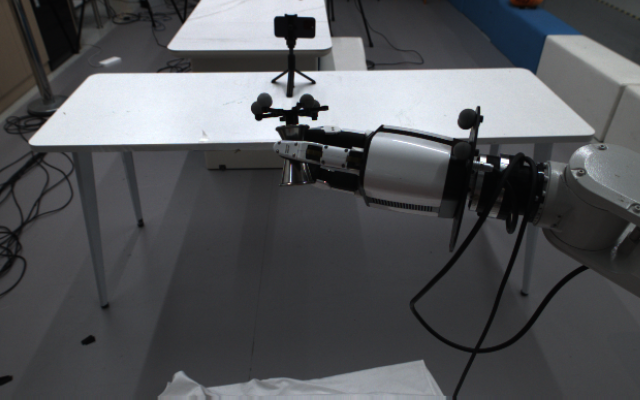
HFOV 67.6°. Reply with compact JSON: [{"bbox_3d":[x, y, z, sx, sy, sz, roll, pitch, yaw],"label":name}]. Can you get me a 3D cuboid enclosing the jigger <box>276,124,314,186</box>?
[{"bbox_3d":[-0.030,-0.051,0.566,0.043,0.071,0.043,-4,1,0],"label":"jigger"}]
